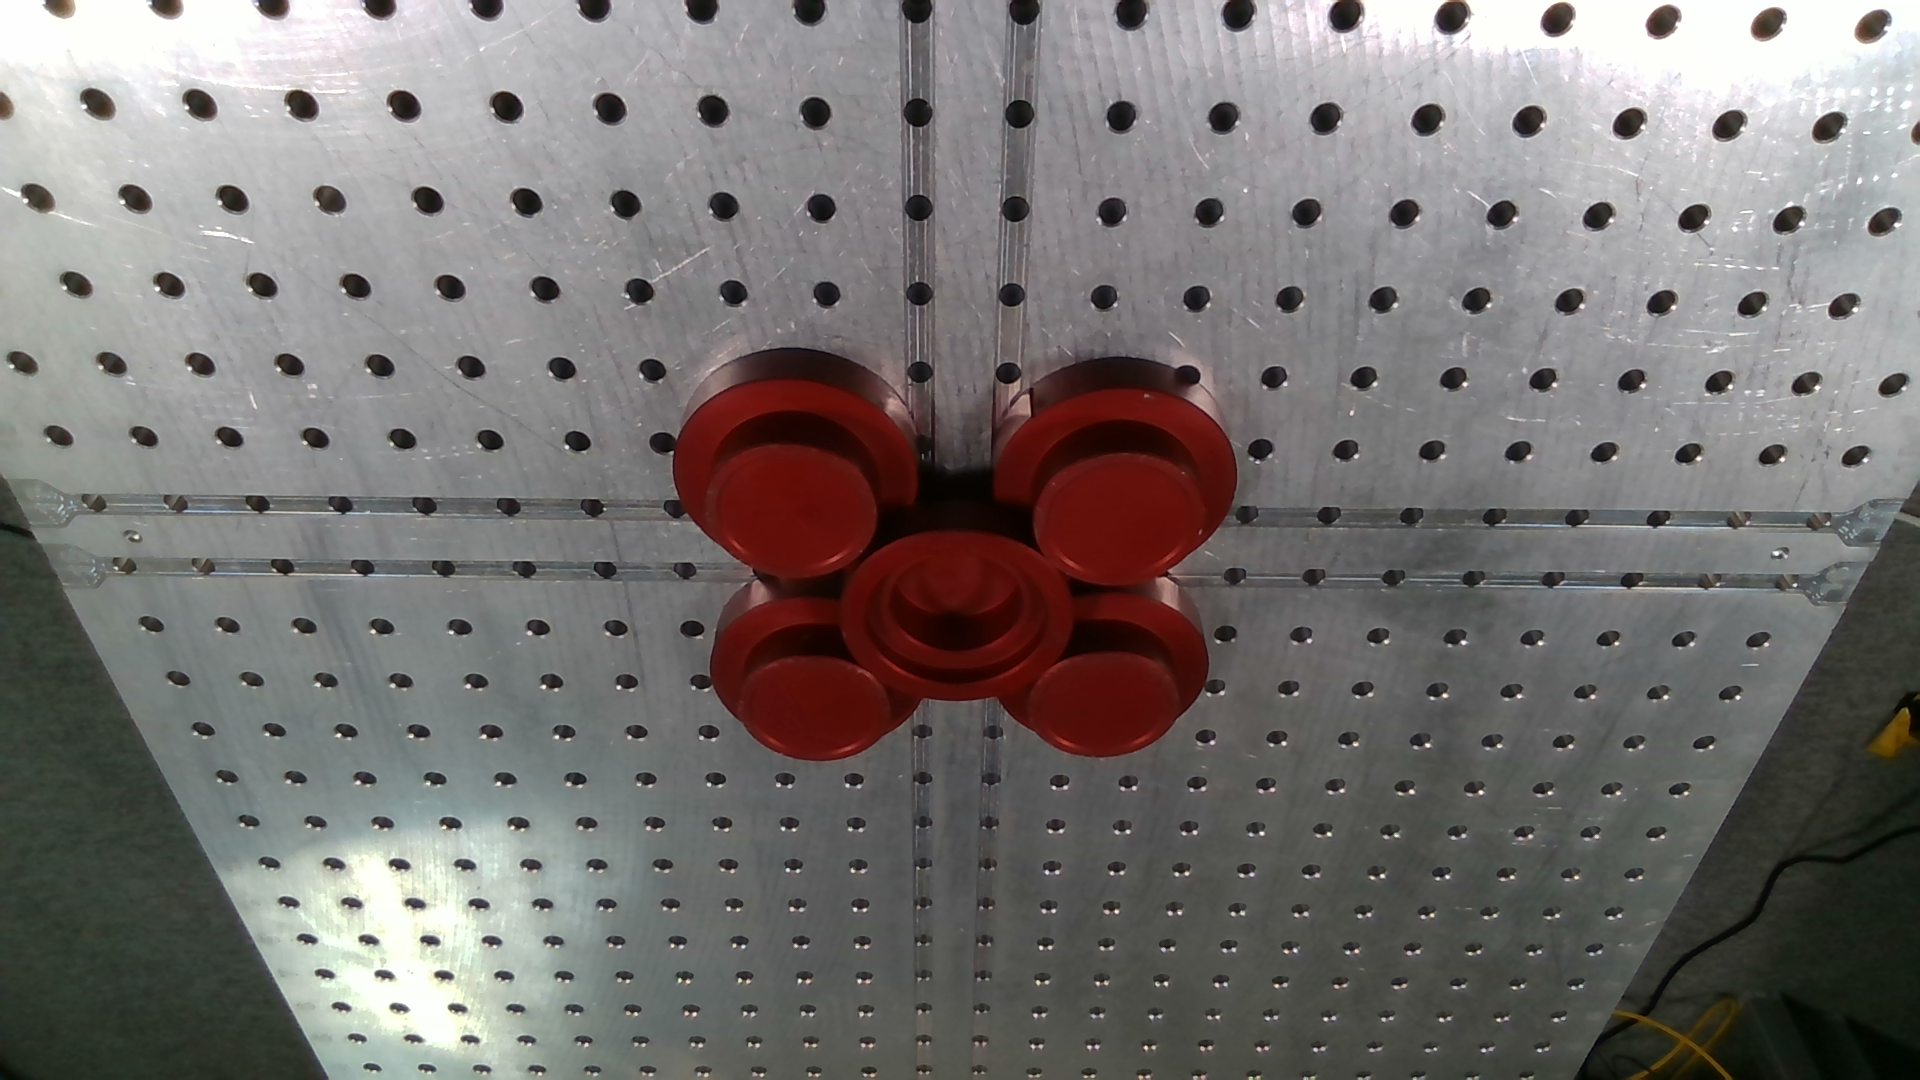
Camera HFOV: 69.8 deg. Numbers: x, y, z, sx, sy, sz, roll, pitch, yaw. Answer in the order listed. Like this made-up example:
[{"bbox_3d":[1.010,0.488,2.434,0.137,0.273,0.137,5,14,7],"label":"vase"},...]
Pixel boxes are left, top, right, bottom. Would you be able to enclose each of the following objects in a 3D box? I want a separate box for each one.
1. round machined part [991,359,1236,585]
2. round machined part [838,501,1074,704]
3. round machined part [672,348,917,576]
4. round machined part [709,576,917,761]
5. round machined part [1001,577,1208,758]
[{"bbox_3d":[0.062,-0.020,0.553,0.098,0.042,0.098,0,130,0],"label":"round machined part"},{"bbox_3d":[-0.002,0.021,0.587,0.098,0.042,0.098,0,130,0],"label":"round machined part"},{"bbox_3d":[-0.066,-0.024,0.551,0.098,0.042,0.098,0,130,0],"label":"round machined part"},{"bbox_3d":[-0.065,0.062,0.623,0.098,0.042,0.098,0,130,0],"label":"round machined part"},{"bbox_3d":[0.063,0.061,0.621,0.098,0.042,0.098,0,130,0],"label":"round machined part"}]
